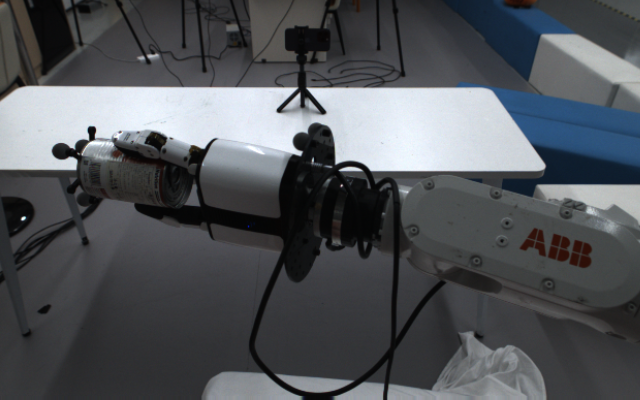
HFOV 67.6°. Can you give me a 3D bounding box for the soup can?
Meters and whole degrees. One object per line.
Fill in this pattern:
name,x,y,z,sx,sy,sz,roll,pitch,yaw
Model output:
soup can,-0.198,-0.029,0.530,0.101,0.067,0.067,8,35,9
